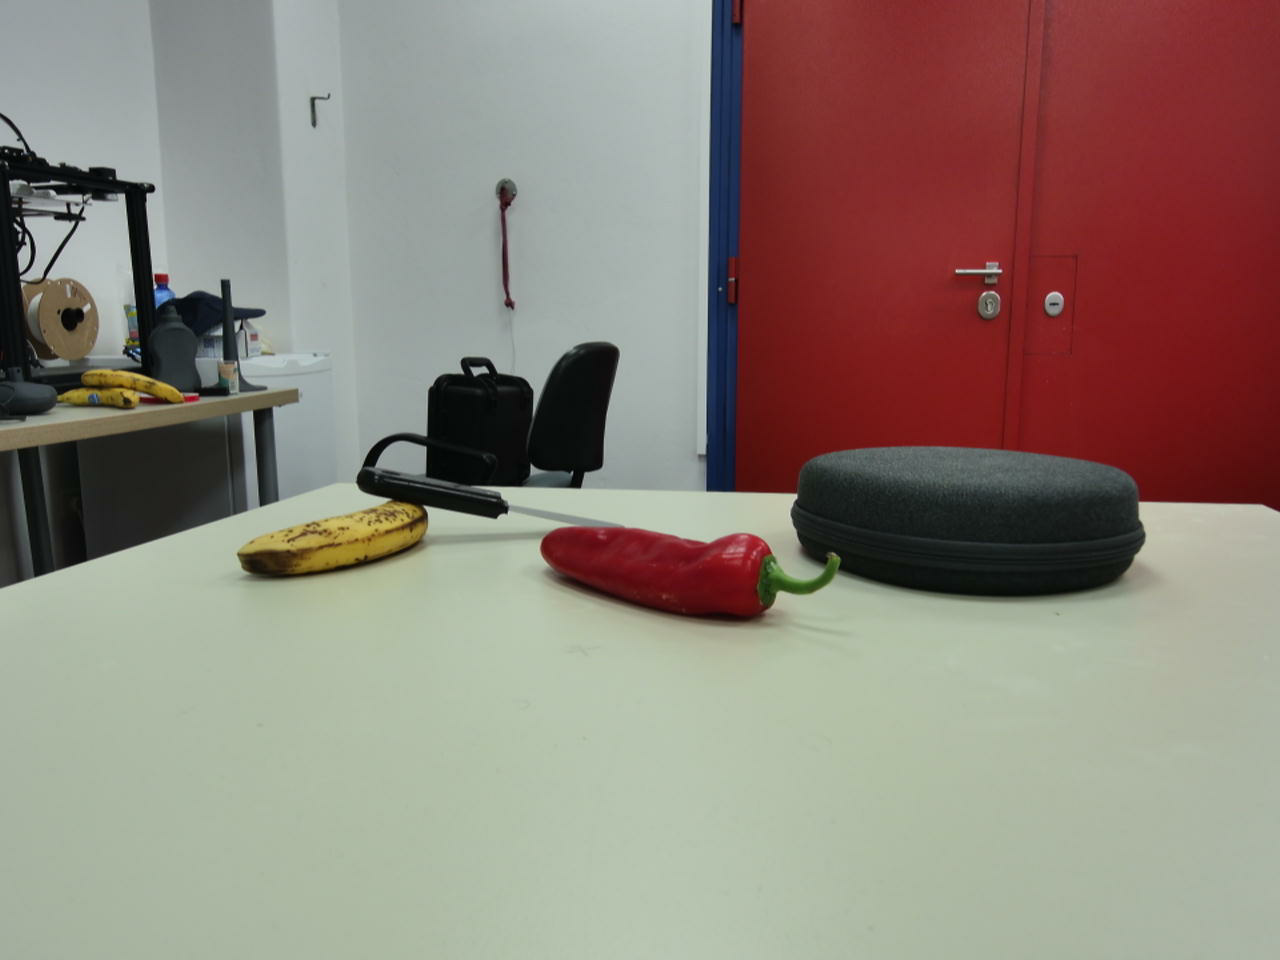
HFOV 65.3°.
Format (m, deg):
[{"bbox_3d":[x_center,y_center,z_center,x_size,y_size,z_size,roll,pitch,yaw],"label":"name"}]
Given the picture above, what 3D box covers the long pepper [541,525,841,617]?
[{"bbox_3d":[0.012,0.045,0.545,0.211,0.043,0.050,6,9,43],"label":"long pepper"}]
